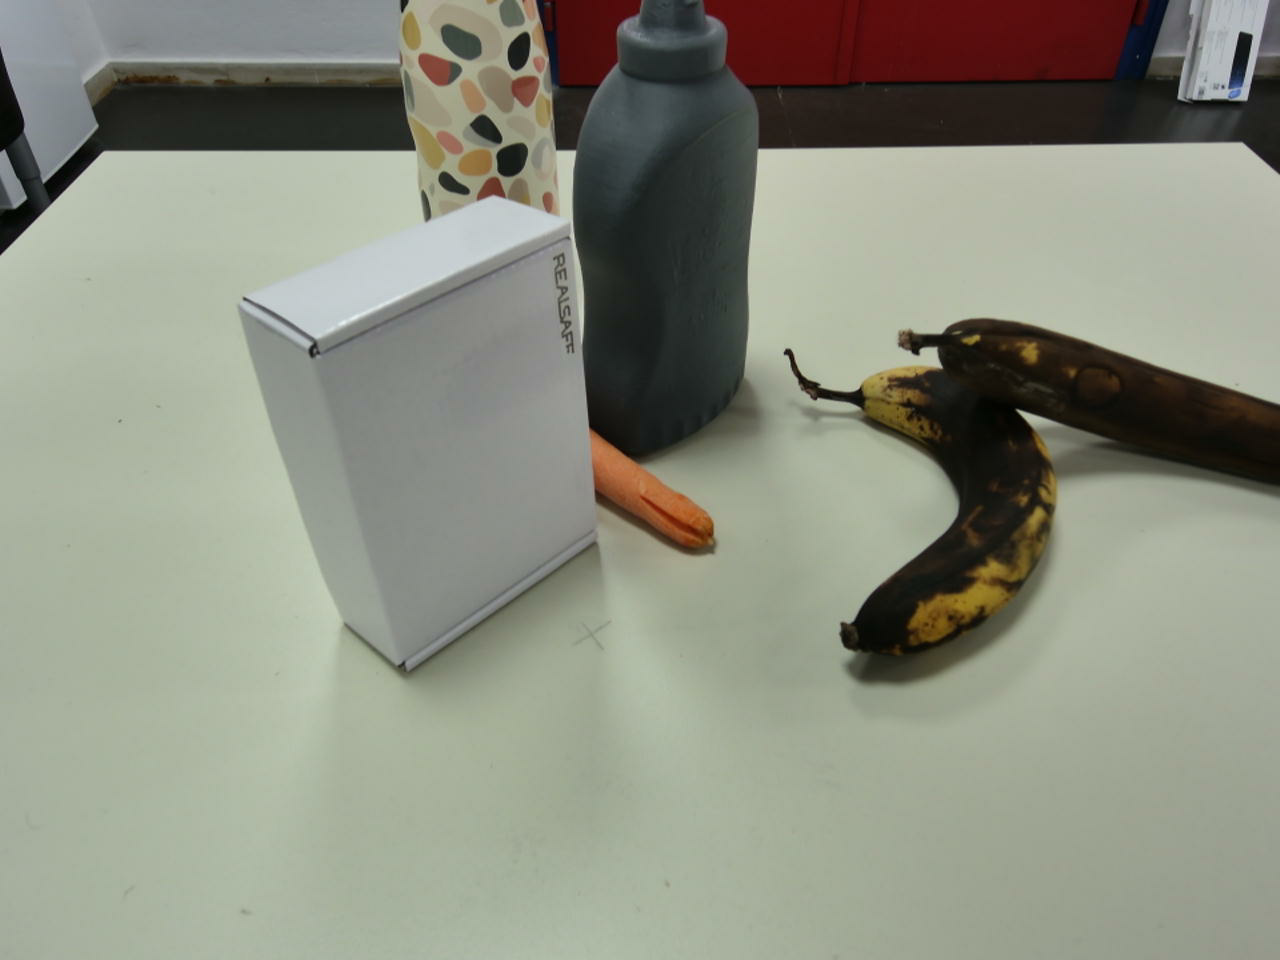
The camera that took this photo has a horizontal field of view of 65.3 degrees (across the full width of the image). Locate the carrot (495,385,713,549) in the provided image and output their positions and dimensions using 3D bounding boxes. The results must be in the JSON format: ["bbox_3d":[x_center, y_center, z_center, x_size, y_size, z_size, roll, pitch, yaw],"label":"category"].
[{"bbox_3d":[-0.019,-0.009,0.459,0.030,0.032,0.136,-32,48,-34],"label":"carrot"}]
